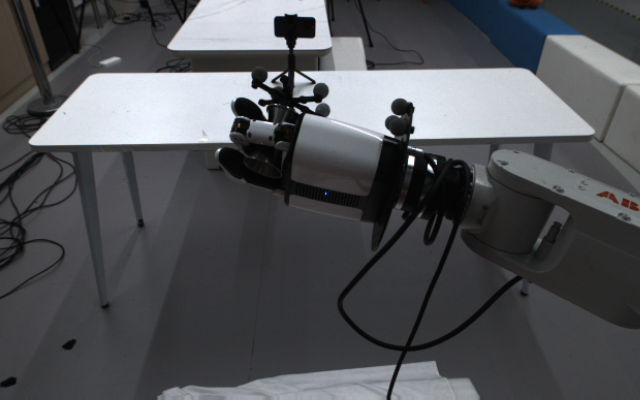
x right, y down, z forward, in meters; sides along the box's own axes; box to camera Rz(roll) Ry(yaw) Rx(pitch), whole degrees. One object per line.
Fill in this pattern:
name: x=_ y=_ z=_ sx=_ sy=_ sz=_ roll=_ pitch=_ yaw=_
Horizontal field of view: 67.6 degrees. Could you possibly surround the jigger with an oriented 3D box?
jigger: x=-0.046 y=-0.062 z=0.518 sx=0.043 sy=0.043 sz=0.071 roll=12 pitch=70 yaw=14
